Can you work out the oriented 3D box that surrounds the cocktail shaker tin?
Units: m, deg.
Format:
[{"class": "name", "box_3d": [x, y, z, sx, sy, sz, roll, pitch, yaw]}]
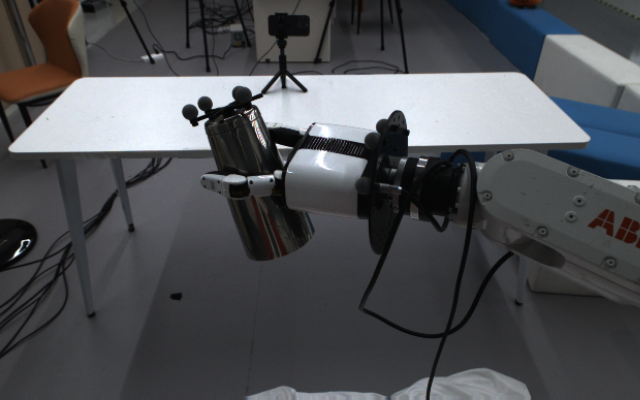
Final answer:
[{"class": "cocktail shaker tin", "box_3d": [-0.076, -0.022, 0.586, 0.093, 0.170, 0.093, -17, 21, 7]}]
